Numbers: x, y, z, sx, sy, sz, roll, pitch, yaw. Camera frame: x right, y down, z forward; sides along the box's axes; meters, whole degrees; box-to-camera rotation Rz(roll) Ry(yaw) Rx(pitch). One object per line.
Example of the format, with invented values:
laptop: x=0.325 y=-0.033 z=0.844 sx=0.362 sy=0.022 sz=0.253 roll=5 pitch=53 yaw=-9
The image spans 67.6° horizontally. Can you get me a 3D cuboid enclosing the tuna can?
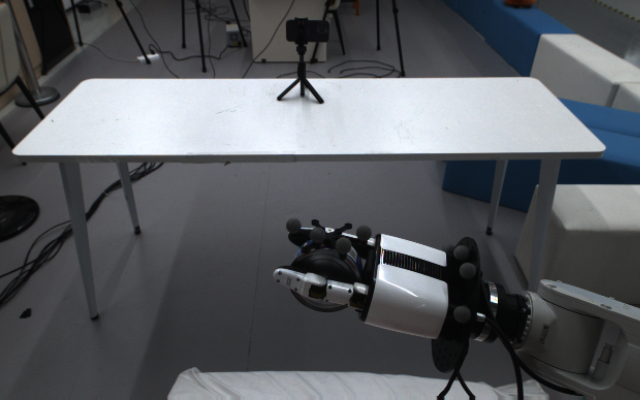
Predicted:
tuna can: x=0.011 y=0.091 z=0.564 sx=0.085 sy=0.085 sz=0.034 roll=7 pitch=22 yaw=6
